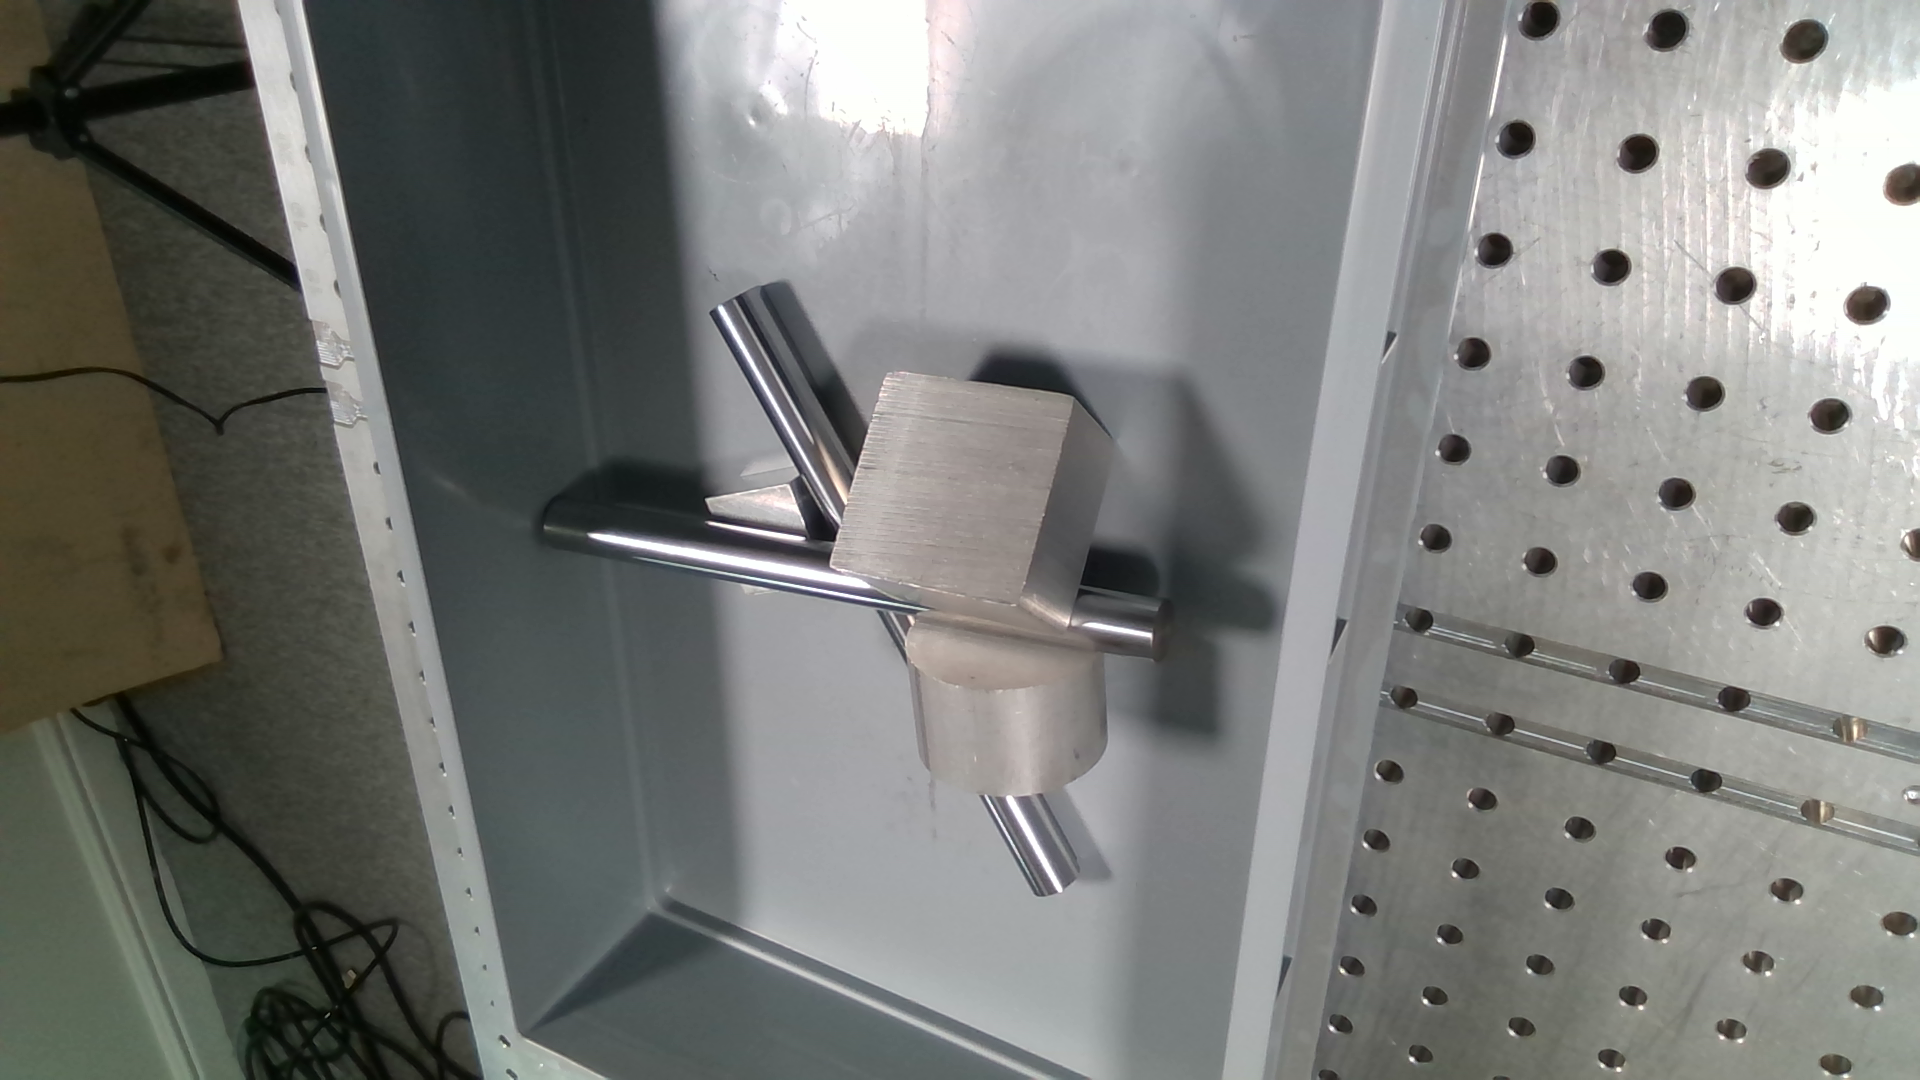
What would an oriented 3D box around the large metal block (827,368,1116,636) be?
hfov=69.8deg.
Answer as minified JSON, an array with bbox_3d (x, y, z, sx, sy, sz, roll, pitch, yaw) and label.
[{"bbox_3d":[0.006,-0.015,0.526,0.080,0.050,0.080,11,80,26],"label":"large metal block"}]

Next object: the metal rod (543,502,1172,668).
[{"bbox_3d":[-0.056,0.015,0.588,0.300,0.025,0.025,9,119,26],"label":"metal rod"}]

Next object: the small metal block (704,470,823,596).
[{"bbox_3d":[-0.081,-0.005,0.626,0.050,0.025,0.050,-8,111,34],"label":"small metal block"}]

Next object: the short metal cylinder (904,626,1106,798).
[{"bbox_3d":[0.020,0.061,0.563,0.080,0.080,0.050,10,121,27],"label":"short metal cylinder"}]

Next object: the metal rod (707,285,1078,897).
[{"bbox_3d":[-0.026,0.028,0.609,0.025,0.025,0.300,-20,104,37],"label":"metal rod"}]
